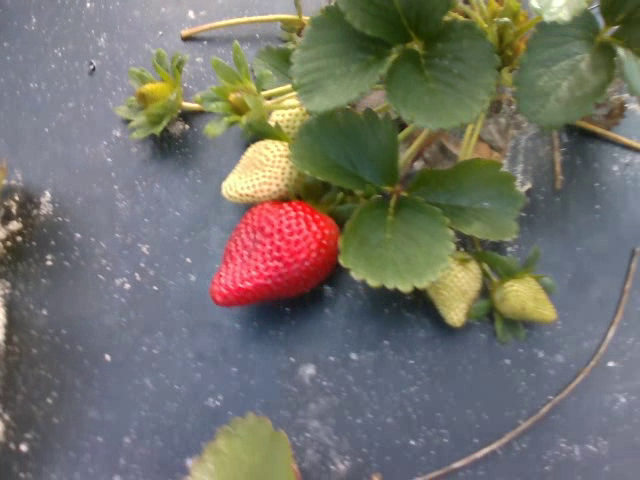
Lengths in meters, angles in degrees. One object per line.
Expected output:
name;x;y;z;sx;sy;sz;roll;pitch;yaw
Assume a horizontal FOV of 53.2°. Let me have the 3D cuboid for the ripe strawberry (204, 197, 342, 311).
ripe strawberry;-0.026;0.008;0.252;0.055;0.048;0.051;-33;29;-34
